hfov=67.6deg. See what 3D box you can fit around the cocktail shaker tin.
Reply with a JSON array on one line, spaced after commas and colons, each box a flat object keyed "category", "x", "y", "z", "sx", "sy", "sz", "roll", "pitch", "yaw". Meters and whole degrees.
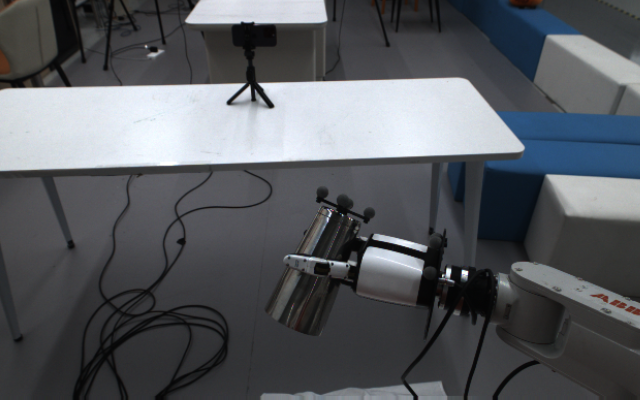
[{"category": "cocktail shaker tin", "x": -0.002, "y": 0.096, "z": 0.704, "sx": 0.093, "sy": 0.170, "sz": 0.093, "roll": 23, "pitch": 0, "yaw": 0}]
